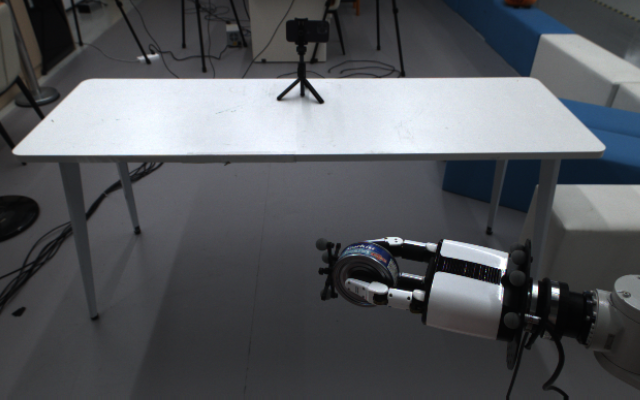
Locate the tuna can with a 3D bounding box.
[{"bbox_3d":[0.064,0.102,0.643,0.085,0.085,0.034,12,28,14],"label":"tuna can"}]
